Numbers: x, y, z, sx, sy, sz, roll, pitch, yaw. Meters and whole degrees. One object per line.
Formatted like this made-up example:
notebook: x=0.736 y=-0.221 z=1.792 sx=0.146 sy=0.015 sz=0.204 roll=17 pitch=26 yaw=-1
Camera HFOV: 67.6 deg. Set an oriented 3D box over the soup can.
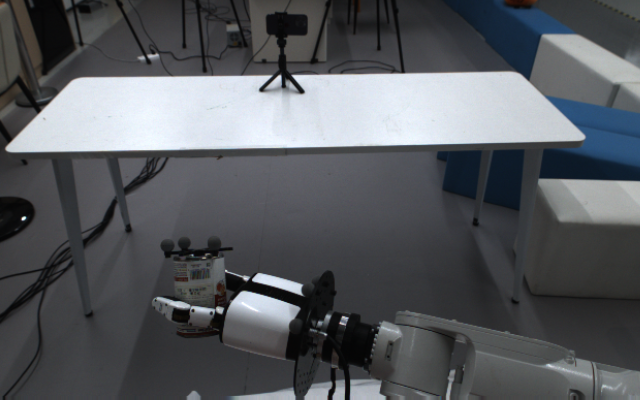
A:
soup can: x=-0.157 y=0.124 z=0.637 sx=0.067 sy=0.101 sz=0.067 roll=-3 pitch=-1 yaw=0
